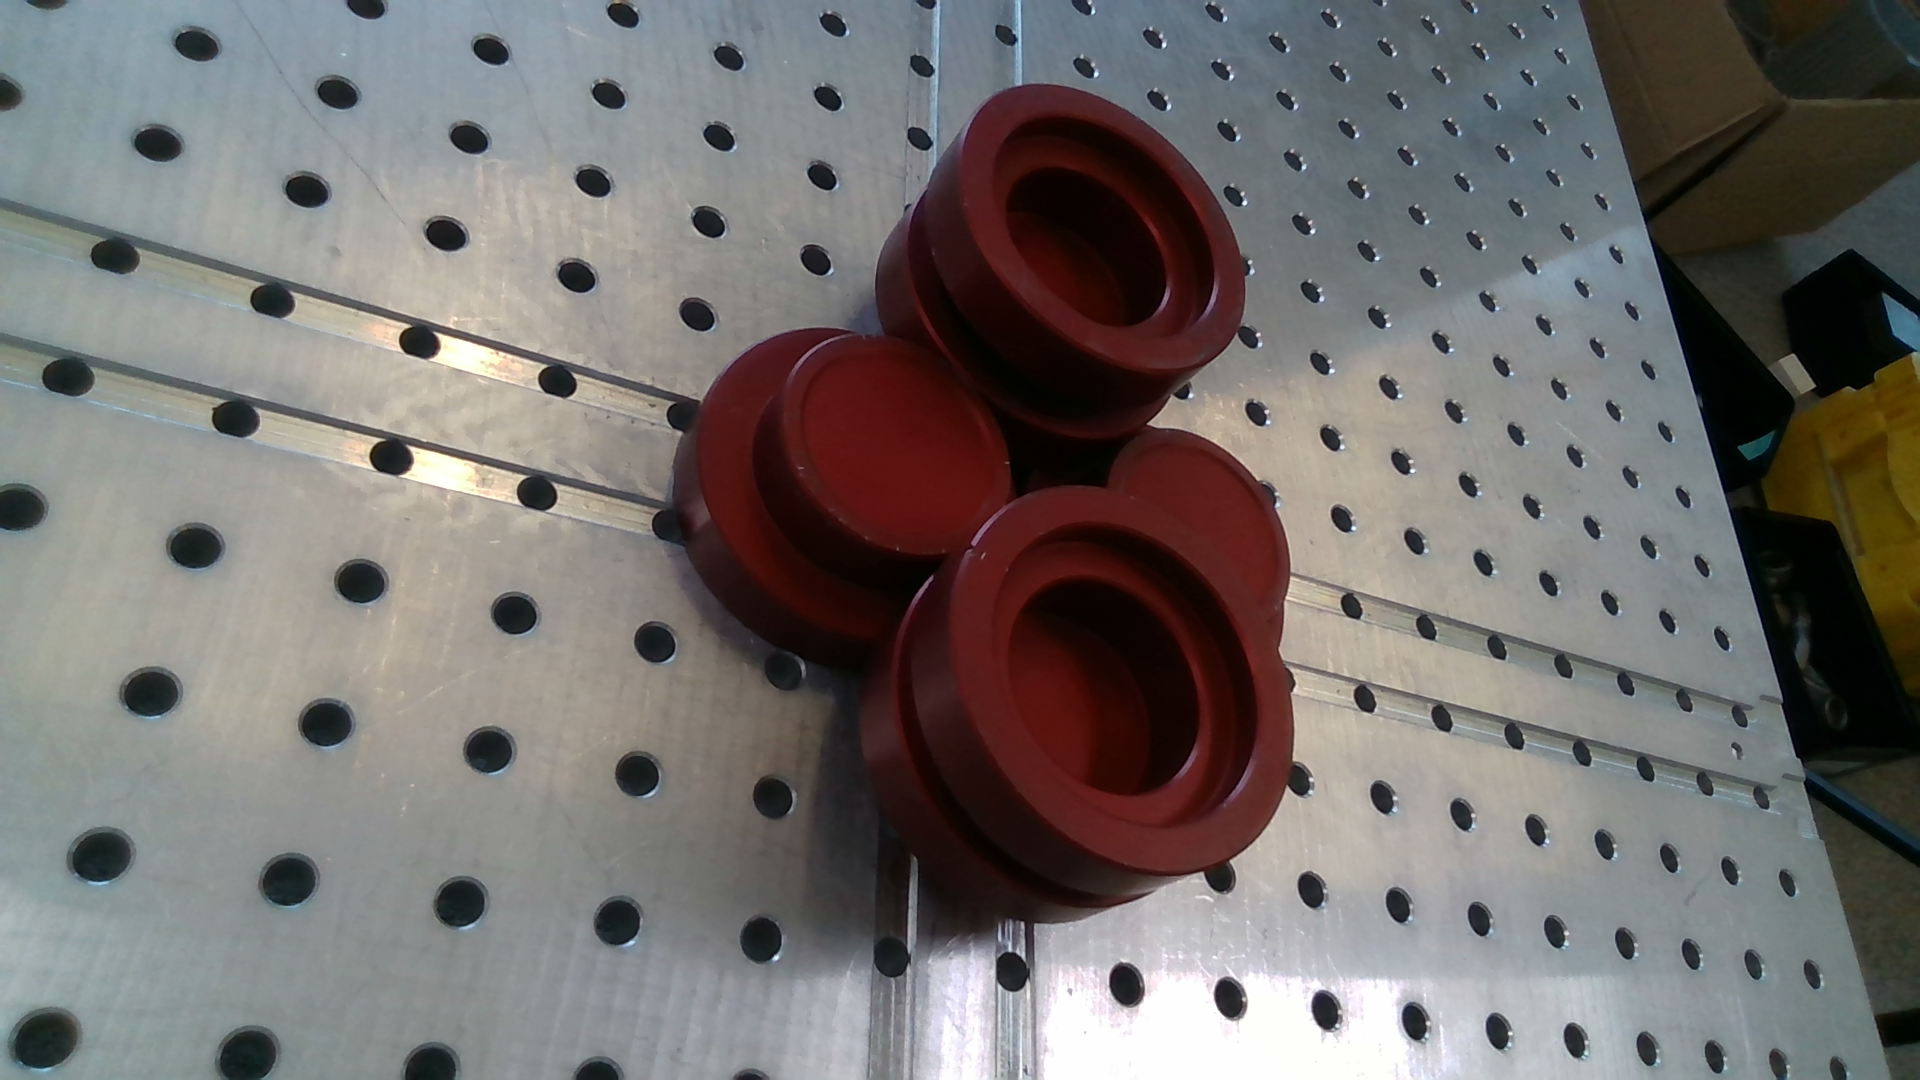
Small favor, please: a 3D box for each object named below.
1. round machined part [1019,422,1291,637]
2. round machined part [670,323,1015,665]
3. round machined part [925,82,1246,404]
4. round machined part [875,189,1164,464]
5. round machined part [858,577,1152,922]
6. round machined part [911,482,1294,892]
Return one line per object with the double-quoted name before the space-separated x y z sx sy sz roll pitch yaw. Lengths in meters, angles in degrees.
"round machined part" 0.061 0.004 0.420 0.098 0.042 0.098 14 59 -25
"round machined part" -0.026 -0.018 0.378 0.098 0.042 0.098 14 59 -25
"round machined part" 0.033 -0.082 0.407 0.098 0.042 0.098 14 59 -25
"round machined part" 0.017 -0.067 0.431 0.098 0.042 0.098 14 59 -25
"round machined part" 0.017 0.052 0.367 0.098 0.042 0.098 14 59 -25
"round machined part" 0.031 0.038 0.342 0.098 0.042 0.098 14 59 -25
